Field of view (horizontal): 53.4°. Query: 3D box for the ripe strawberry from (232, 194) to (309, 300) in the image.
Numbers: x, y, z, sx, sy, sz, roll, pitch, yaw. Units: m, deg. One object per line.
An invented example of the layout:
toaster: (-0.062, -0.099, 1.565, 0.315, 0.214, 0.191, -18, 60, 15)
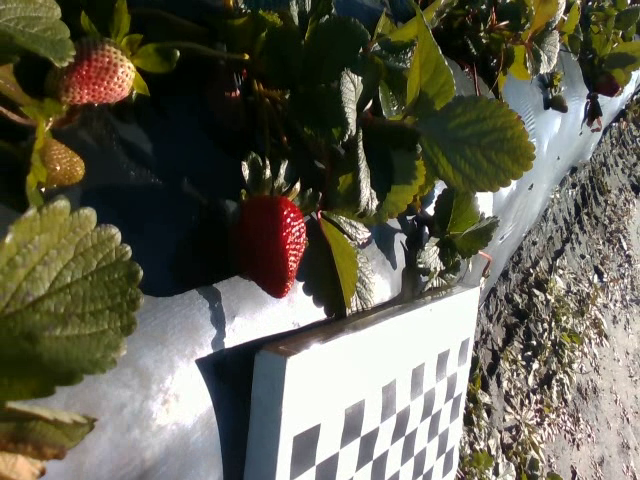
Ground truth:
ripe strawberry: (-0.026, 0.005, 0.298, 0.058, 0.066, 0.062, -36, 48, -10)
